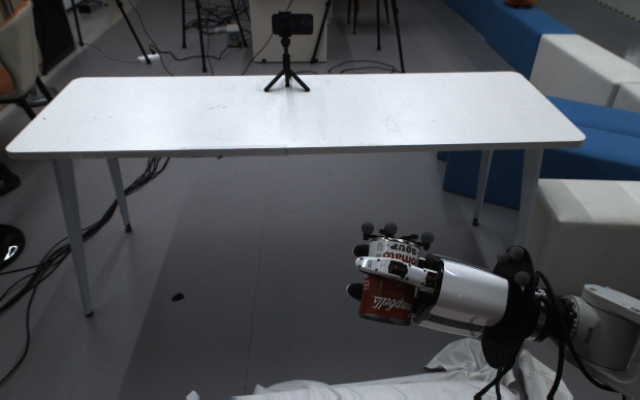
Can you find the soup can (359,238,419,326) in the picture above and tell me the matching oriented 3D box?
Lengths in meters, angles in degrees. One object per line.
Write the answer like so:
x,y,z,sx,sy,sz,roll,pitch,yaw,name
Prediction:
0.092,0.105,0.624,0.067,0.067,0.101,8,71,9,soup can
